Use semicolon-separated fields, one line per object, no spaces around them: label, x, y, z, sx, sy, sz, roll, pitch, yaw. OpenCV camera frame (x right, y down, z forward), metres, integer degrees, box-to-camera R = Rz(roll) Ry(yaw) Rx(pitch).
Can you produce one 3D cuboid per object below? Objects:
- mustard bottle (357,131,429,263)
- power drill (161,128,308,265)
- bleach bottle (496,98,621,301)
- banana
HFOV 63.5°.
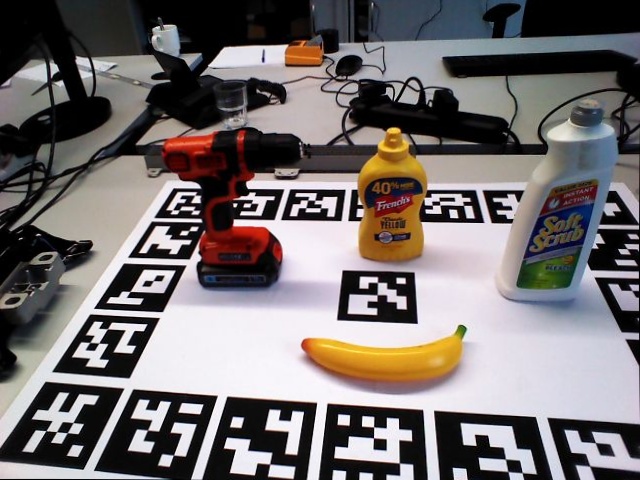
mustard bottle;0.099;-0.058;0.706;0.096;0.192;0.058;-2;37;1
power drill;-0.097;-0.058;0.680;0.185;0.187;0.057;-5;37;6
bleach bottle;0.278;-0.041;0.608;0.103;0.251;0.067;7;38;15
banana;0.073;0.122;0.578;0.198;0.039;0.074;-4;38;6
